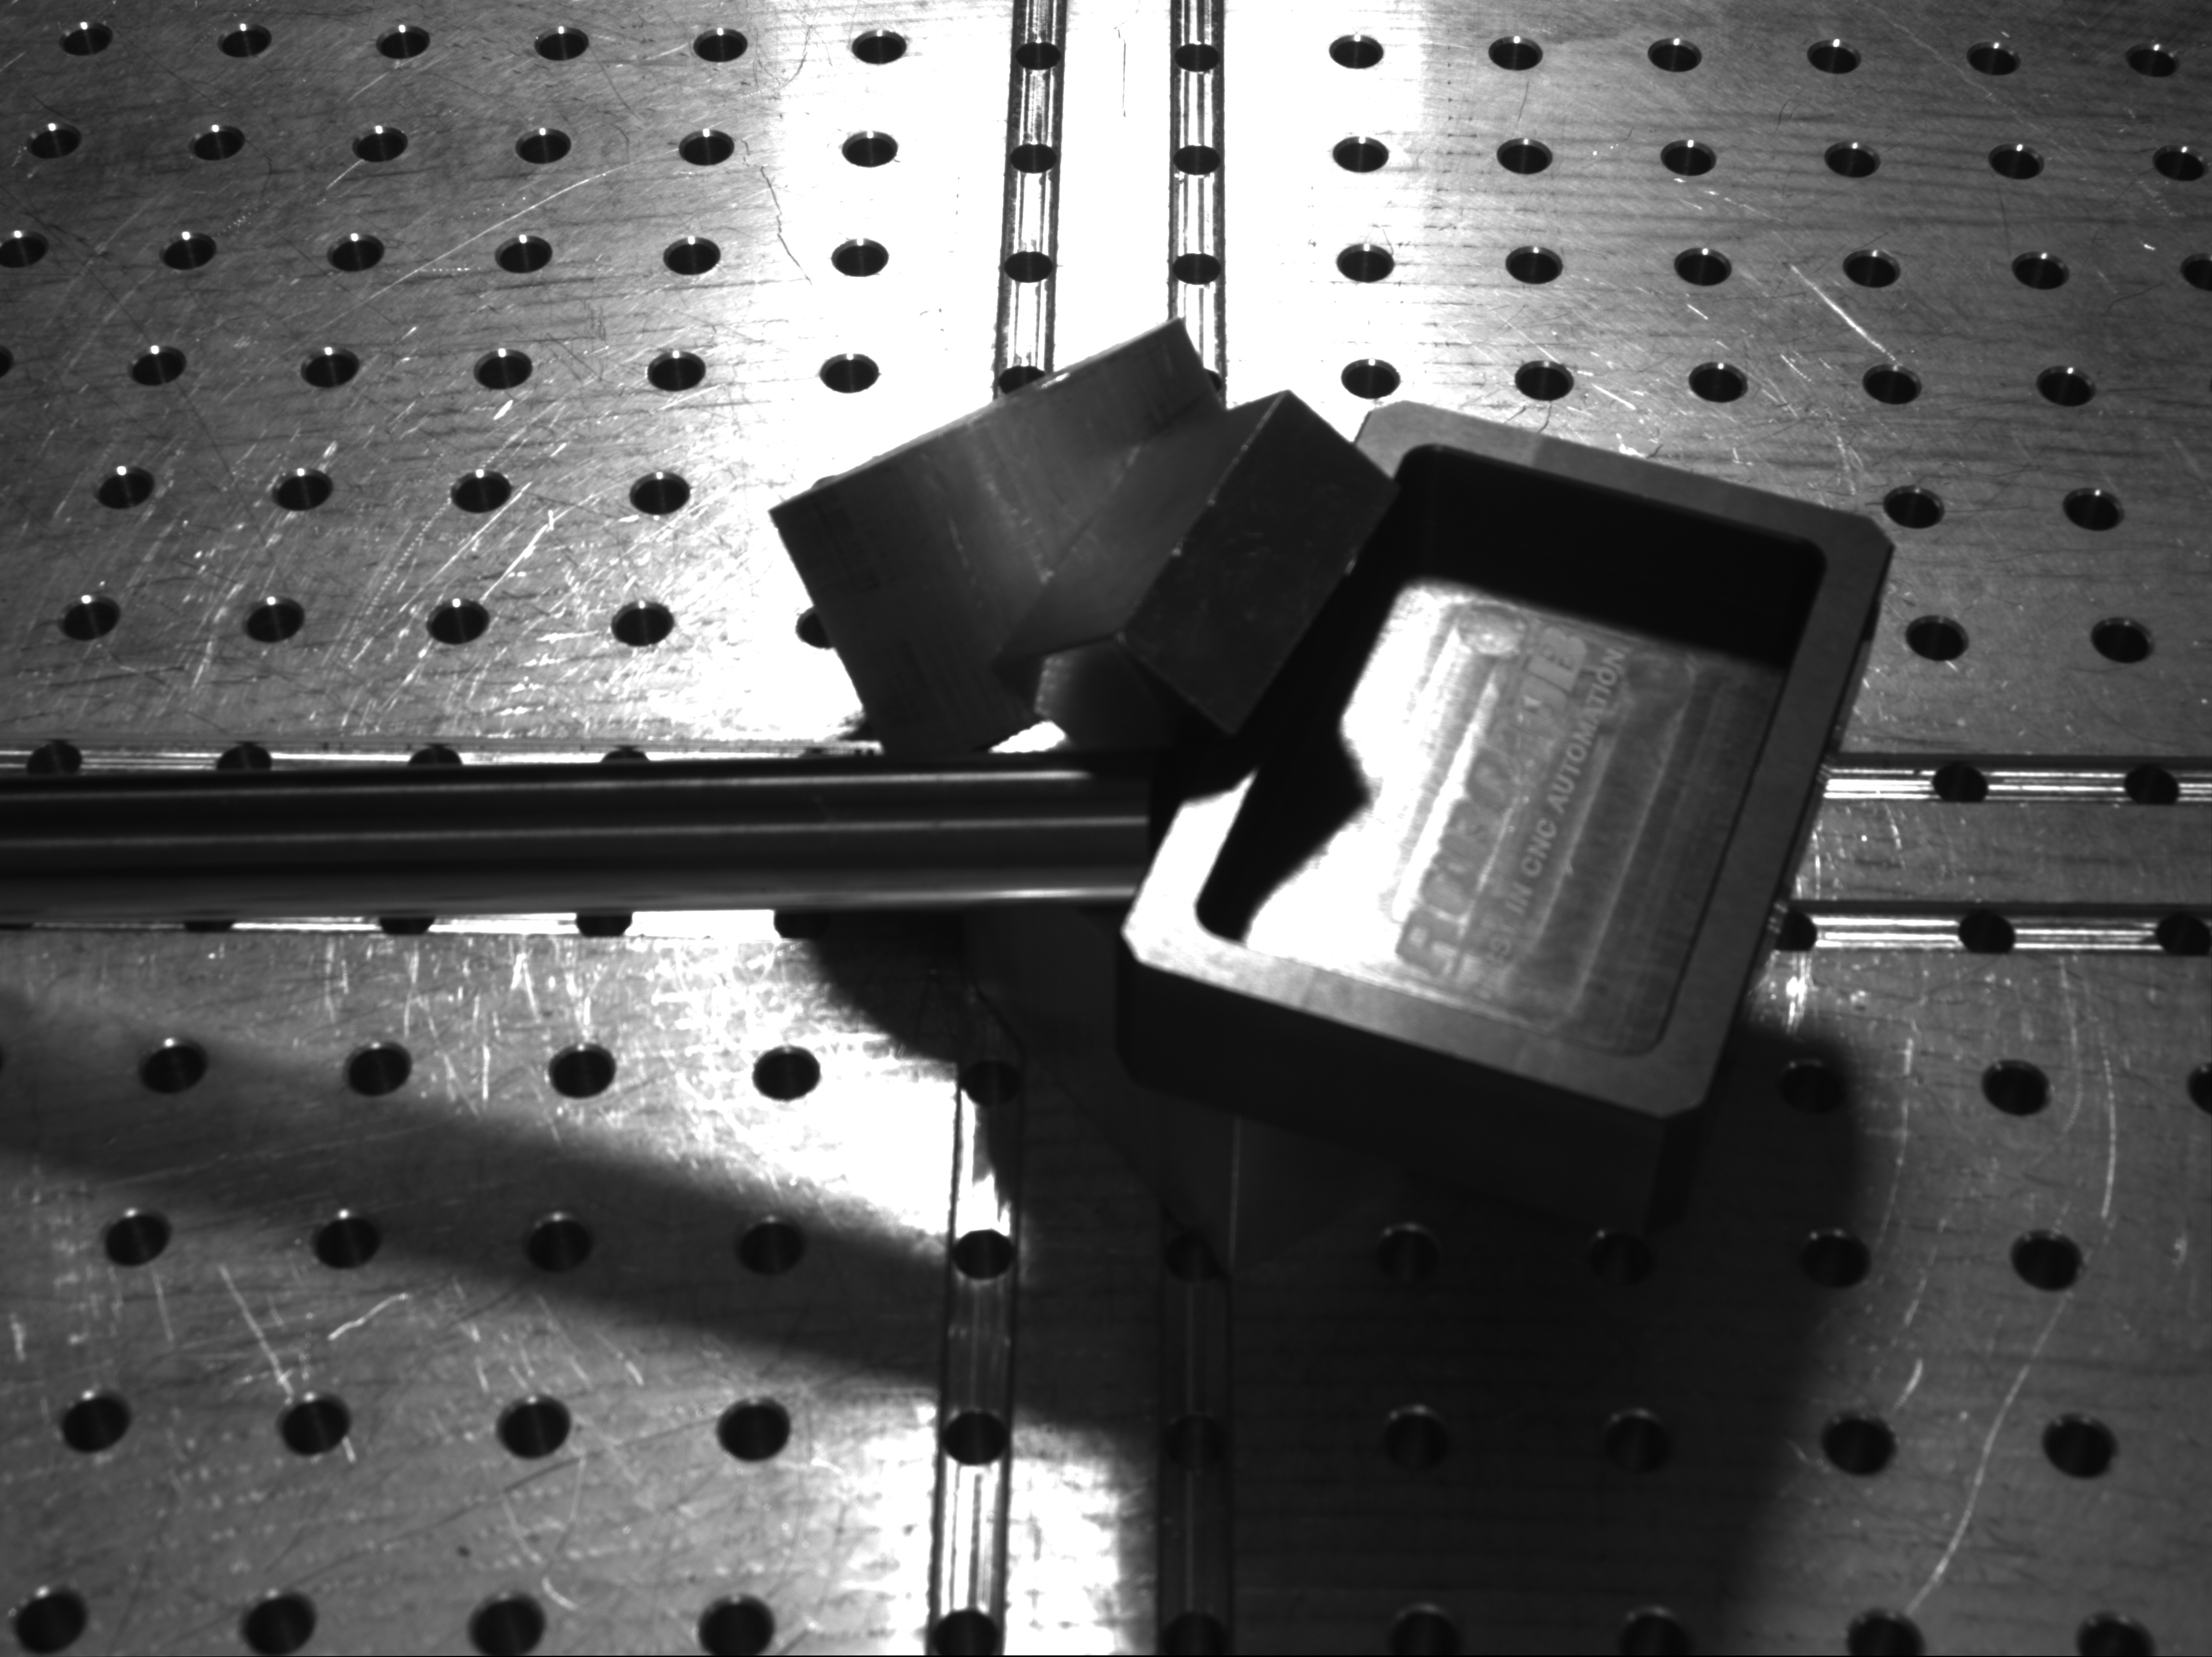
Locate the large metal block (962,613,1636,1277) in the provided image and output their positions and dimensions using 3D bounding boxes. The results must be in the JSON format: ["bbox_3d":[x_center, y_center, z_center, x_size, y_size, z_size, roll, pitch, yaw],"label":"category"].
[{"bbox_3d":[0.031,0.015,0.615,0.080,0.050,0.080,-28,55,-22],"label":"large metal block"}]

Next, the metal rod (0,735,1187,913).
[{"bbox_3d":[-0.135,0.001,0.606,0.300,0.025,0.025,-1,49,14],"label":"metal rod"}]

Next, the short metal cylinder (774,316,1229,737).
[{"bbox_3d":[-0.011,-0.050,0.644,0.080,0.080,0.050,-28,98,-22],"label":"short metal cylinder"}]

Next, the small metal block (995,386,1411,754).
[{"bbox_3d":[0.015,-0.039,0.584,0.025,0.050,0.050,40,72,-17],"label":"small metal block"}]

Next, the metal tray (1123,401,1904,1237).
[{"bbox_3d":[0.066,-0.006,0.577,0.090,0.030,0.130,16,51,13],"label":"metal tray"}]
